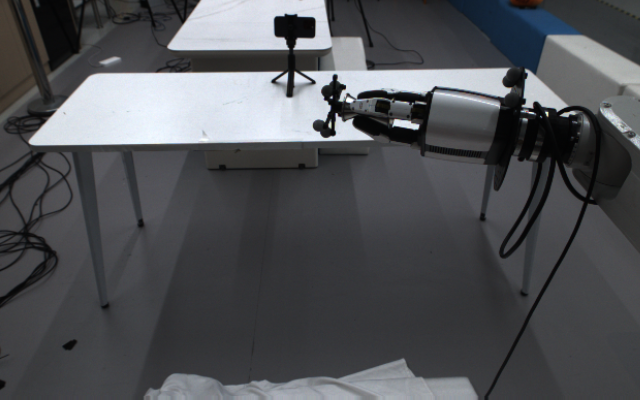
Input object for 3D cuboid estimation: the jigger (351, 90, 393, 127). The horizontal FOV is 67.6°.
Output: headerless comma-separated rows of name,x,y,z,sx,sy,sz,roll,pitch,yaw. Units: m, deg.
jigger,0.073,-0.128,0.672,0.071,0.043,0.043,10,35,16
